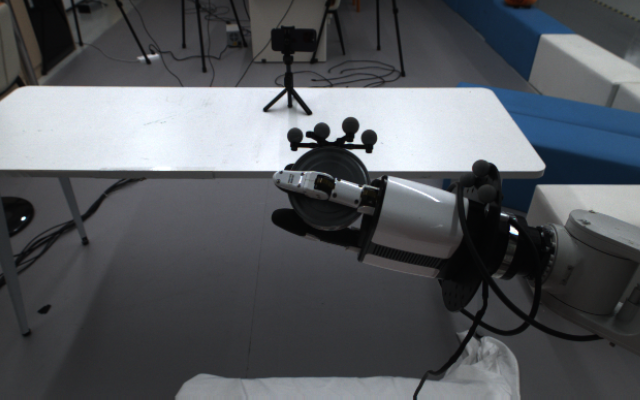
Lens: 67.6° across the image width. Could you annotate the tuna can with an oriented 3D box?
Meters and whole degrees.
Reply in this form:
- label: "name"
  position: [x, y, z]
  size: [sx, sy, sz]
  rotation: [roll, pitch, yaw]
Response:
- label: "tuna can"
  position: [0.011, -0.012, 0.510]
  size: [0.085, 0.034, 0.085]
  rotation: [-1, 76, 4]
